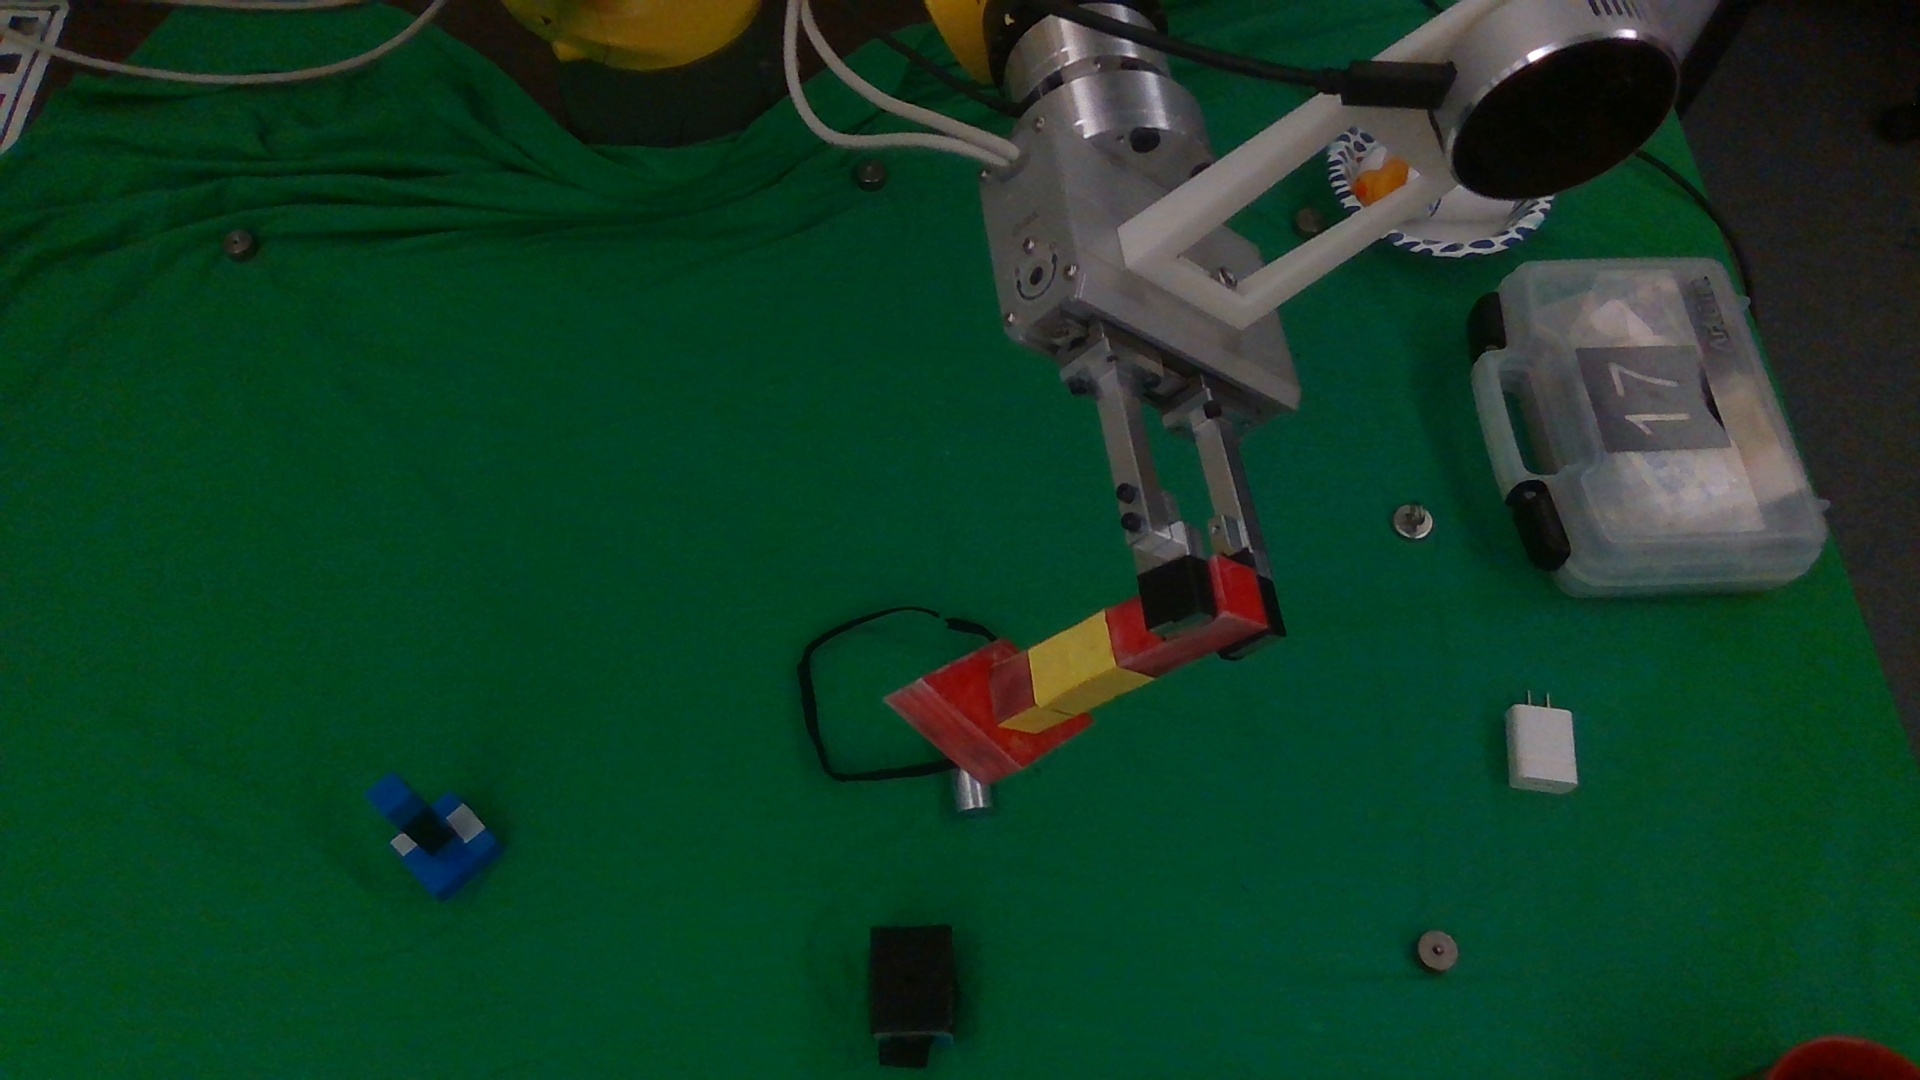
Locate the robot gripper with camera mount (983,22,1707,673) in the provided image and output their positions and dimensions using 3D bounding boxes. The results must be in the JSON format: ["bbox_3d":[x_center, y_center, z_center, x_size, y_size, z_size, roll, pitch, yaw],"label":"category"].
[{"bbox_3d":[0.124,-0.062,0.411,0.194,0.118,0.159,-24,58,34],"label":"robot gripper with camera mount"}]

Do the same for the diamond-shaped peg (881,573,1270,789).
[{"bbox_3d":[0.043,0.042,0.446,0.074,0.122,0.045,-20,84,-49],"label":"diamond-shaped peg"}]
